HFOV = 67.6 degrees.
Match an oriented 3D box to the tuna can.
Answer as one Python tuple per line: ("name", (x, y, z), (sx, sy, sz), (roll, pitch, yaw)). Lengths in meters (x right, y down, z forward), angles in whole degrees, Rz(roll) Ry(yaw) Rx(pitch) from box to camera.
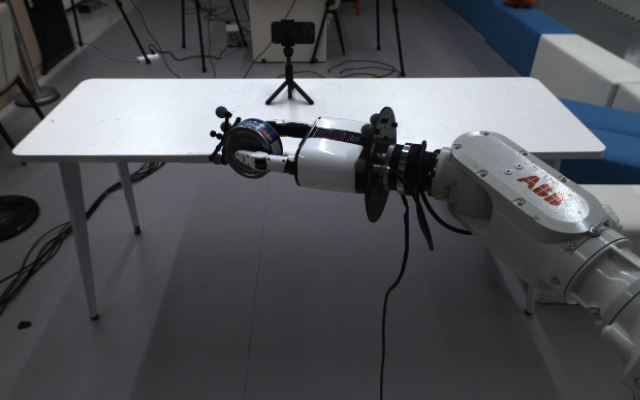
("tuna can", (-0.100, -0.078, 0.722), (0.085, 0.085, 0.034), (14, 31, 17))
